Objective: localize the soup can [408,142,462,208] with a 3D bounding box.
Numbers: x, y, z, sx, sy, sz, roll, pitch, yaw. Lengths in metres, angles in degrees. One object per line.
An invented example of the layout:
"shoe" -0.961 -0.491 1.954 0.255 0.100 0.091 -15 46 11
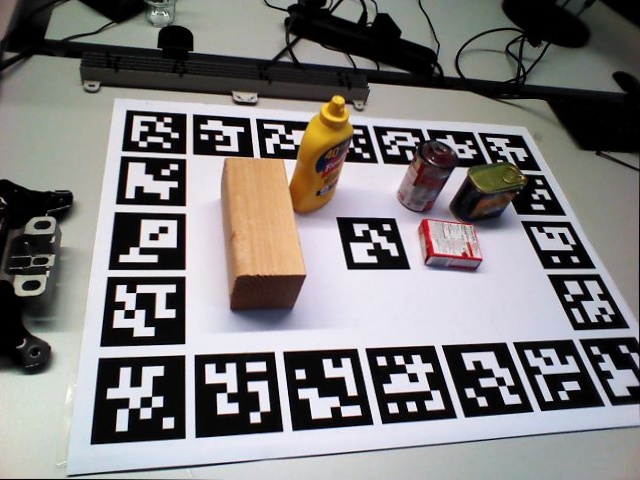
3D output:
"soup can" 0.190 -0.109 0.838 0.068 0.102 0.067 6 54 -9

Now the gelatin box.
"gelatin box" 0.219 0.008 0.806 0.089 0.030 0.073 7 54 -5

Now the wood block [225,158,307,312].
"wood block" -0.081 -0.011 0.716 0.091 0.090 0.205 2 49 -15

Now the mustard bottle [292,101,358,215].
"mustard bottle" 0.008 -0.122 0.764 0.096 0.192 0.058 -23 61 -29

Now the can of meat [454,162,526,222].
"can of meat" 0.284 -0.080 0.862 0.101 0.084 0.057 -11 57 -24
